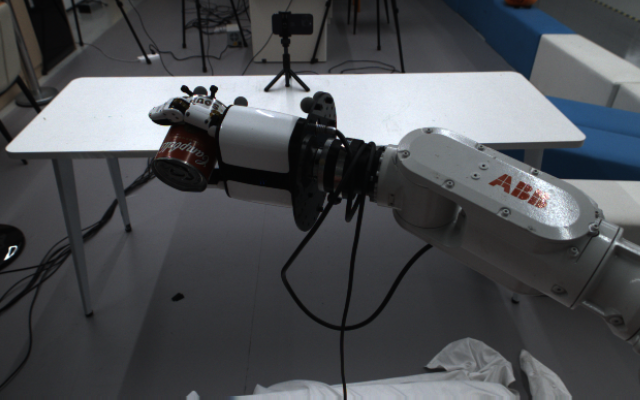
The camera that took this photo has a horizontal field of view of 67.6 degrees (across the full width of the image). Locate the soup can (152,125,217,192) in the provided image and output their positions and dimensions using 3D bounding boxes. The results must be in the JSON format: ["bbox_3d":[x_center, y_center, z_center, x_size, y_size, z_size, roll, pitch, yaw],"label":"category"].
[{"bbox_3d":[-0.152,-0.069,0.585,0.067,0.067,0.101,9,59,10],"label":"soup can"}]
